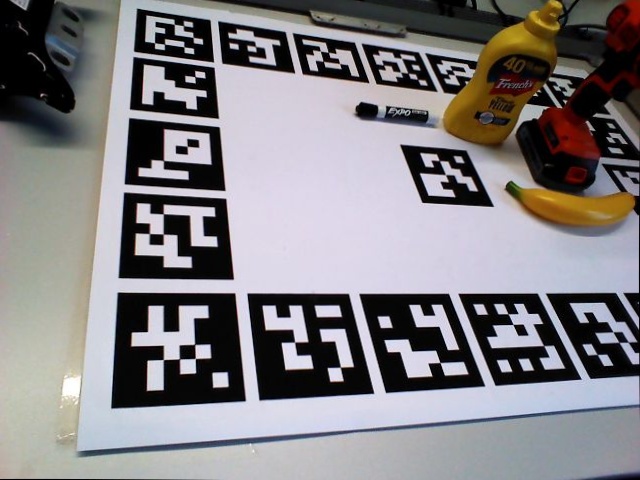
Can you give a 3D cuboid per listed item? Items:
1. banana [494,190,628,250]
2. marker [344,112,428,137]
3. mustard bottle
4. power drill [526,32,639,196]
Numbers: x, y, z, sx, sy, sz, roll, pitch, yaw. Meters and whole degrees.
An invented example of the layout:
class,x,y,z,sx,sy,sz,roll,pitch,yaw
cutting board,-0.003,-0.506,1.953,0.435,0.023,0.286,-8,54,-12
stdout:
class,x,y,z,sx,sy,sz,roll,pitch,yaw
banana,0.326,-0.021,0.682,0.197,0.039,0.074,9,54,-11
marker,0.091,-0.159,0.714,0.121,0.020,0.019,5,54,-16
mustard bottle,0.237,-0.195,0.679,0.096,0.193,0.058,13,51,-12
power drill,0.350,-0.147,0.660,0.057,0.188,0.183,15,49,-11
